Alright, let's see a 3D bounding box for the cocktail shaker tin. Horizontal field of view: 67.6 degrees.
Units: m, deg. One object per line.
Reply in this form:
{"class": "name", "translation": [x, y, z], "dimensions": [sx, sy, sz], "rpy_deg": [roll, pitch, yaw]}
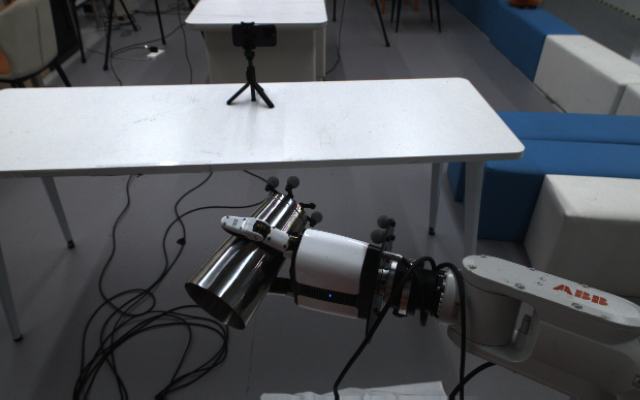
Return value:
{"class": "cocktail shaker tin", "translation": [-0.085, 0.068, 0.634], "dimensions": [0.093, 0.093, 0.170], "rpy_deg": [19, 54, 23]}
